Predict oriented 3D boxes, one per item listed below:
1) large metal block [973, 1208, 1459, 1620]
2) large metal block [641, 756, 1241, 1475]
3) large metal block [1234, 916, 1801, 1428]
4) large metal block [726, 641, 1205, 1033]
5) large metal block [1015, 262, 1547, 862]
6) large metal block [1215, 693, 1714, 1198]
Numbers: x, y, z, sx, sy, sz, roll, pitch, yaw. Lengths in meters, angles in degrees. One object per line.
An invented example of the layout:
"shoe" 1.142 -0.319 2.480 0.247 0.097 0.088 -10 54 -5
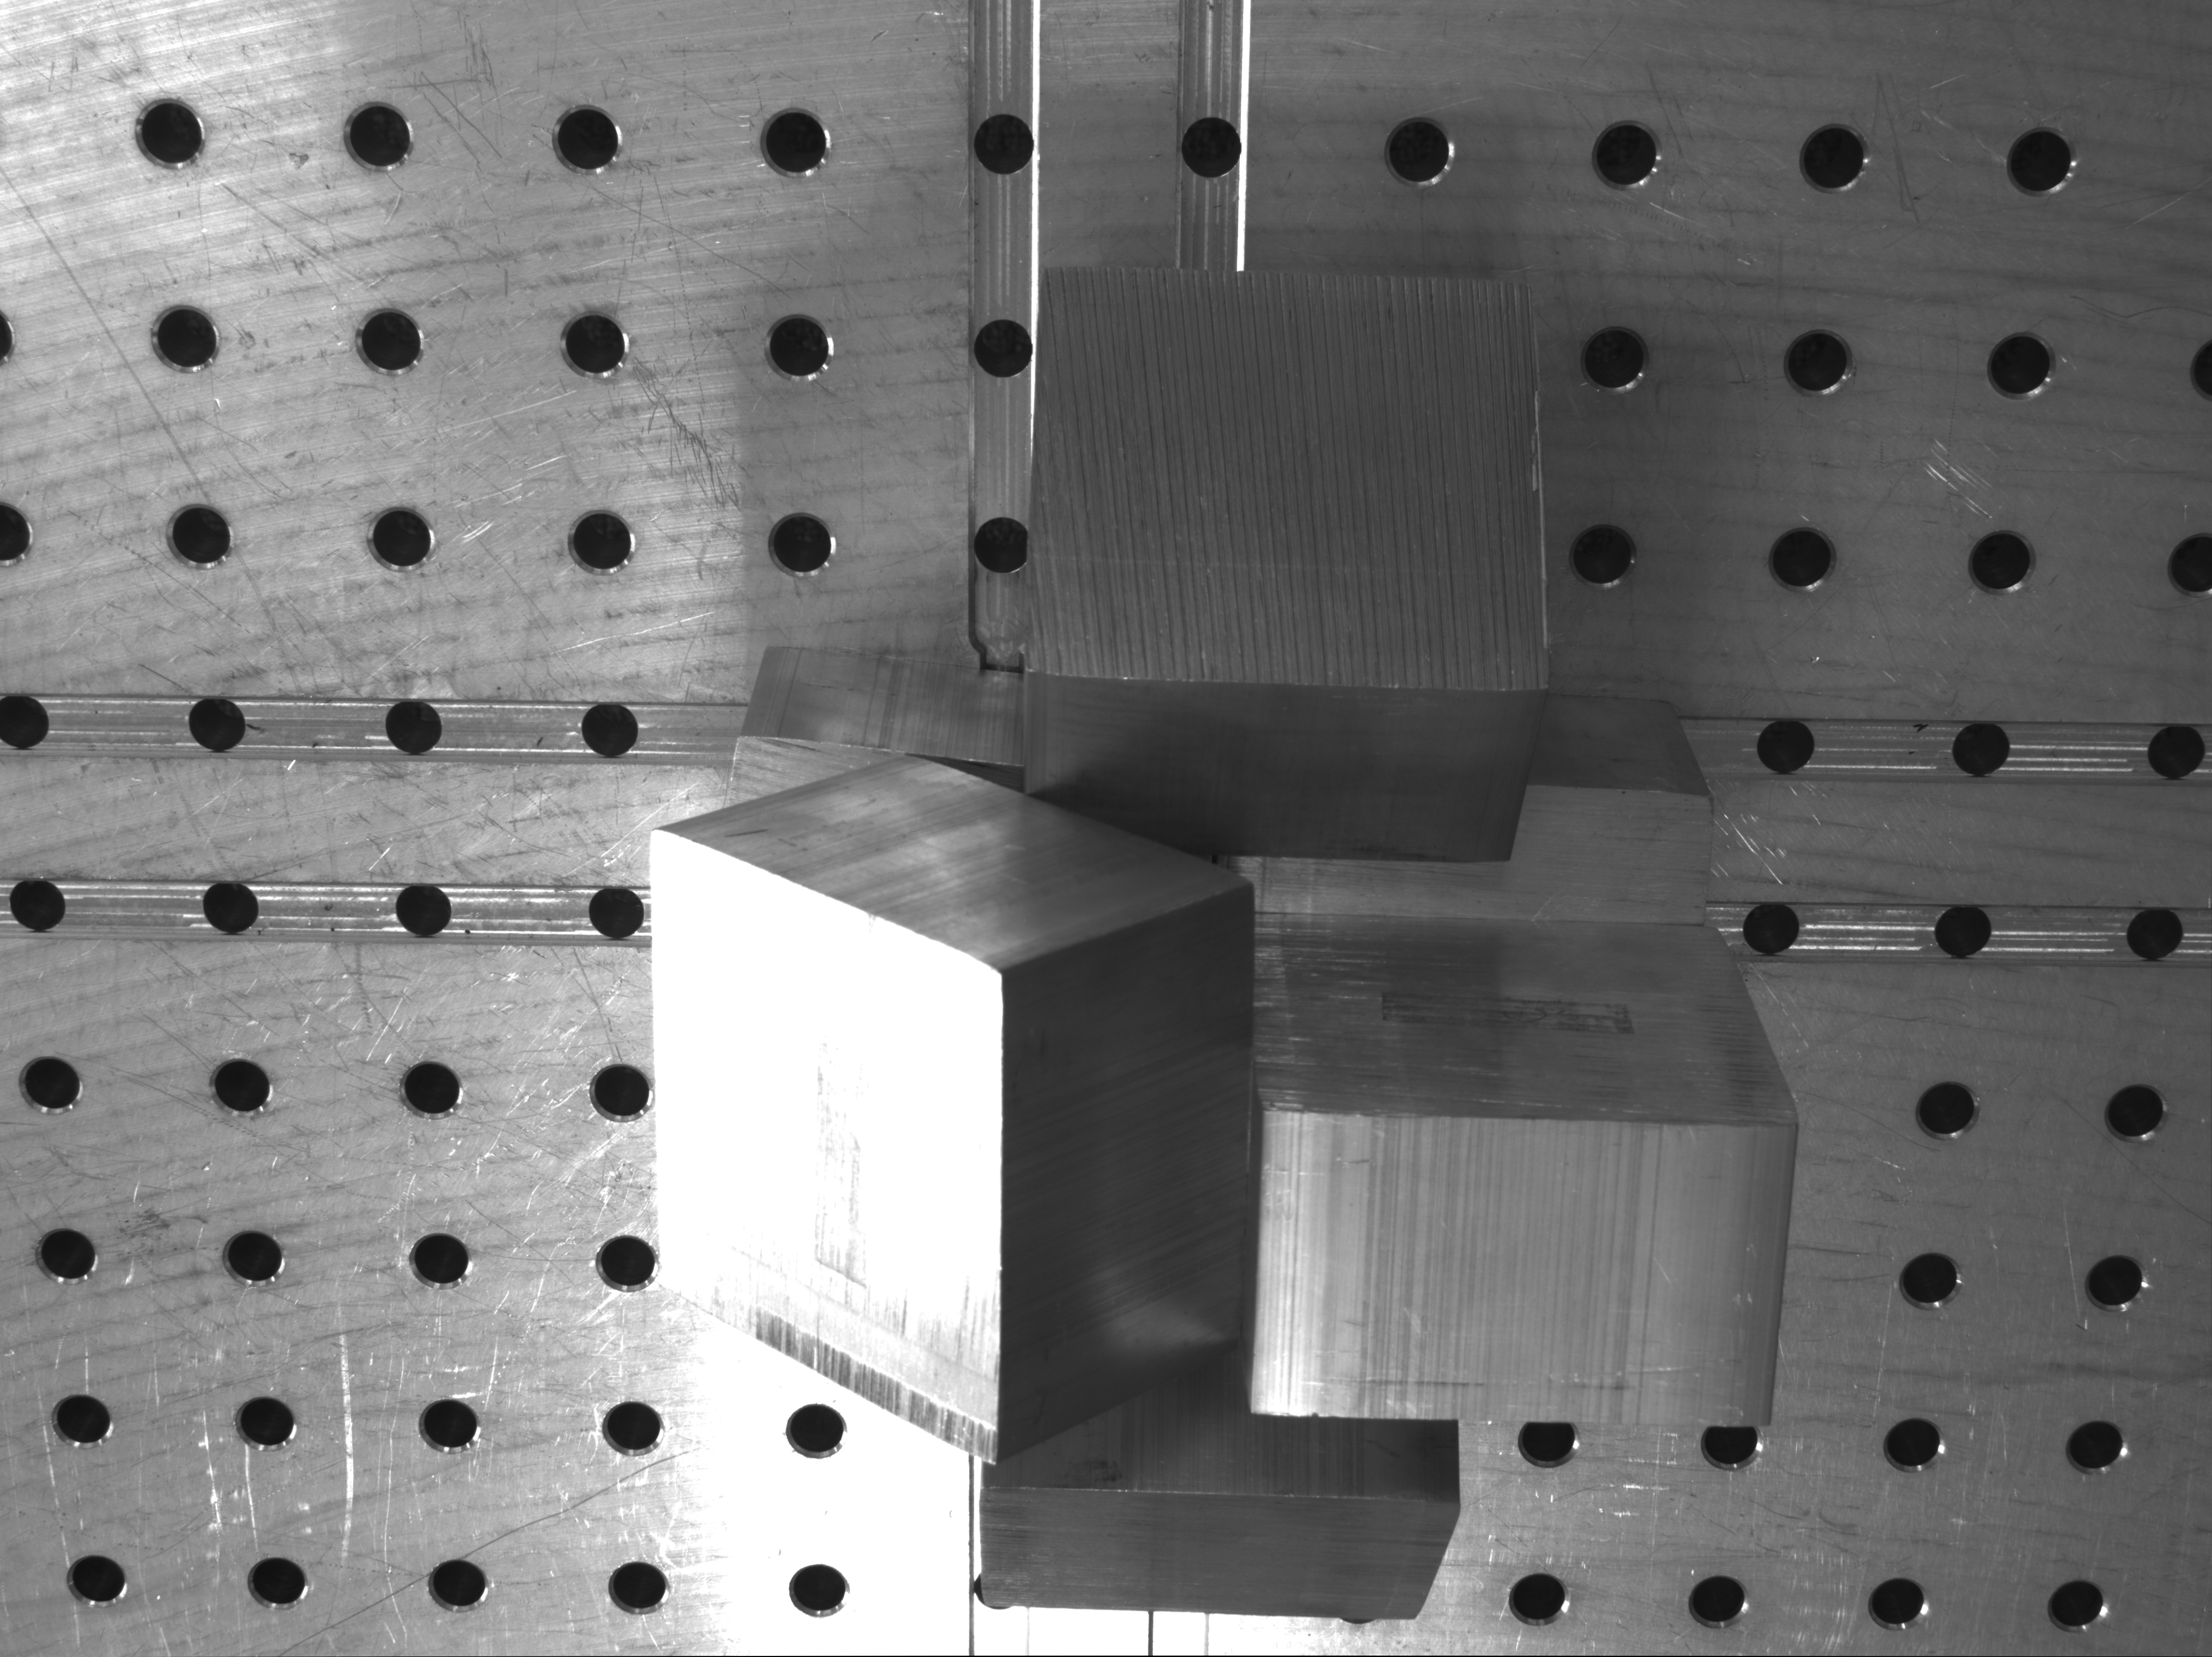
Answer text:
"large metal block" 0.018 0.104 0.650 0.080 0.050 0.080 2 154 -1
"large metal block" -0.027 0.042 0.571 0.080 0.050 0.080 20 117 41
"large metal block" 0.061 0.053 0.584 0.080 0.080 0.050 1 110 -1
"large metal block" -0.026 0.017 0.640 0.080 0.050 0.080 6 110 -2
"large metal block" 0.027 -0.043 0.594 0.080 0.080 0.050 2 148 -1
"large metal block" 0.058 0.022 0.641 0.080 0.050 0.080 3 110 -1
